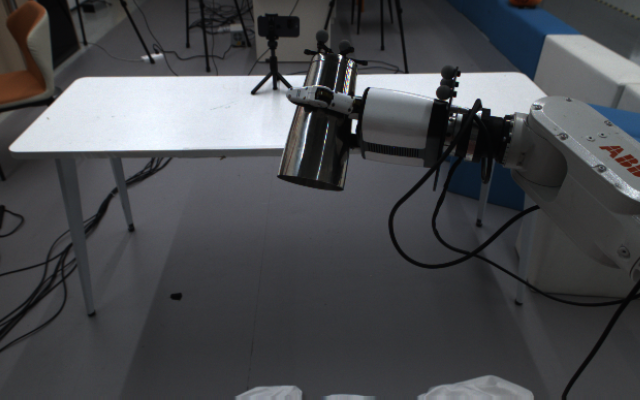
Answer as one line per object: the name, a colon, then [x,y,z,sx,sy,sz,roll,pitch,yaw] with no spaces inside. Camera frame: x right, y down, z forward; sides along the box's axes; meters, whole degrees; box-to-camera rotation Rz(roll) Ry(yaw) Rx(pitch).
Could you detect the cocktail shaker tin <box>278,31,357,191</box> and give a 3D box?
cocktail shaker tin: [0.004,-0.105,0.654,0.093,0.170,0.093,11,-5,1]
